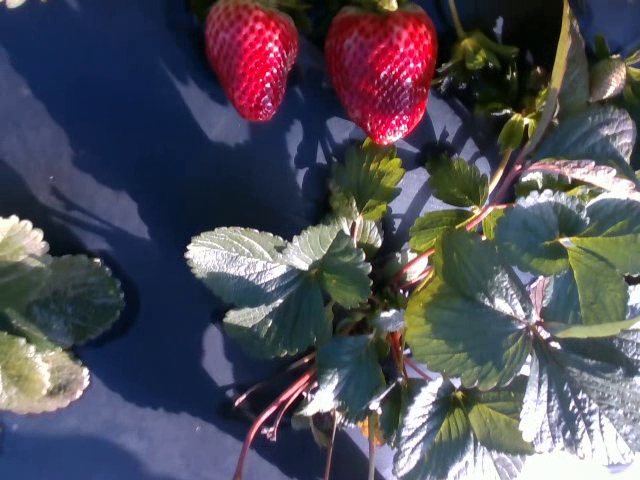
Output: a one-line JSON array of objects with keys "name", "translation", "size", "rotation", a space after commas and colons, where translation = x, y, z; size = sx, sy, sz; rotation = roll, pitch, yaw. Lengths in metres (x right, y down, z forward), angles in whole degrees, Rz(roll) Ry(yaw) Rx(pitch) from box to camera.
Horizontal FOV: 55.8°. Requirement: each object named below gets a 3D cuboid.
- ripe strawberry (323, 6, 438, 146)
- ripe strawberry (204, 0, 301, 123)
[{"name": "ripe strawberry", "translation": [0.027, -0.064, 0.244], "size": [0.052, 0.058, 0.046], "rotation": [-4, 6, 13]}, {"name": "ripe strawberry", "translation": [-0.027, -0.066, 0.230], "size": [0.043, 0.052, 0.036], "rotation": [-9, 7, 20]}]
